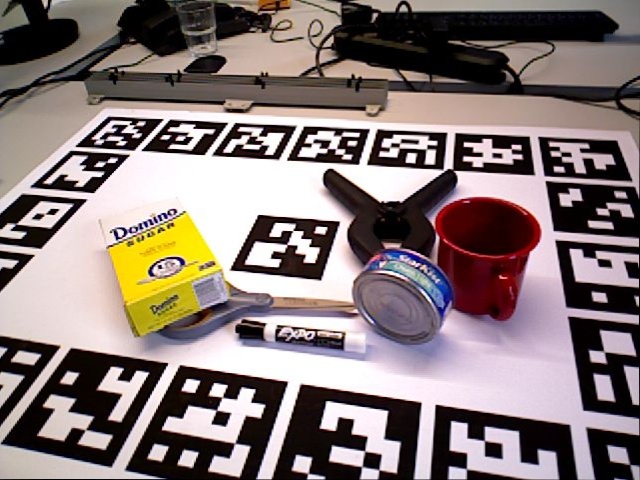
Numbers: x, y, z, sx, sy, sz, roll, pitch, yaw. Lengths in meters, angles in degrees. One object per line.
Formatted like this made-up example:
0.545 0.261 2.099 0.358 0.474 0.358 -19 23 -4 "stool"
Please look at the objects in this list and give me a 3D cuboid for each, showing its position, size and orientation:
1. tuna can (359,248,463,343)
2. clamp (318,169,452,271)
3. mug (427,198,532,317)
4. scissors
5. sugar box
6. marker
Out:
0.078 0.049 0.476 0.086 0.087 0.033 18 45 24 "tuna can"
0.078 -0.019 0.608 0.165 0.037 0.199 -2 42 4 "clamp"
0.147 0.024 0.504 0.092 0.083 0.116 -13 38 -9 "mug"
-0.063 0.055 0.532 0.202 0.016 0.086 -1 37 3 "scissors"
-0.163 0.019 0.561 0.091 0.046 0.175 -20 37 -17 "sugar box"
-0.026 0.087 0.495 0.121 0.020 0.019 2 42 10 "marker"
